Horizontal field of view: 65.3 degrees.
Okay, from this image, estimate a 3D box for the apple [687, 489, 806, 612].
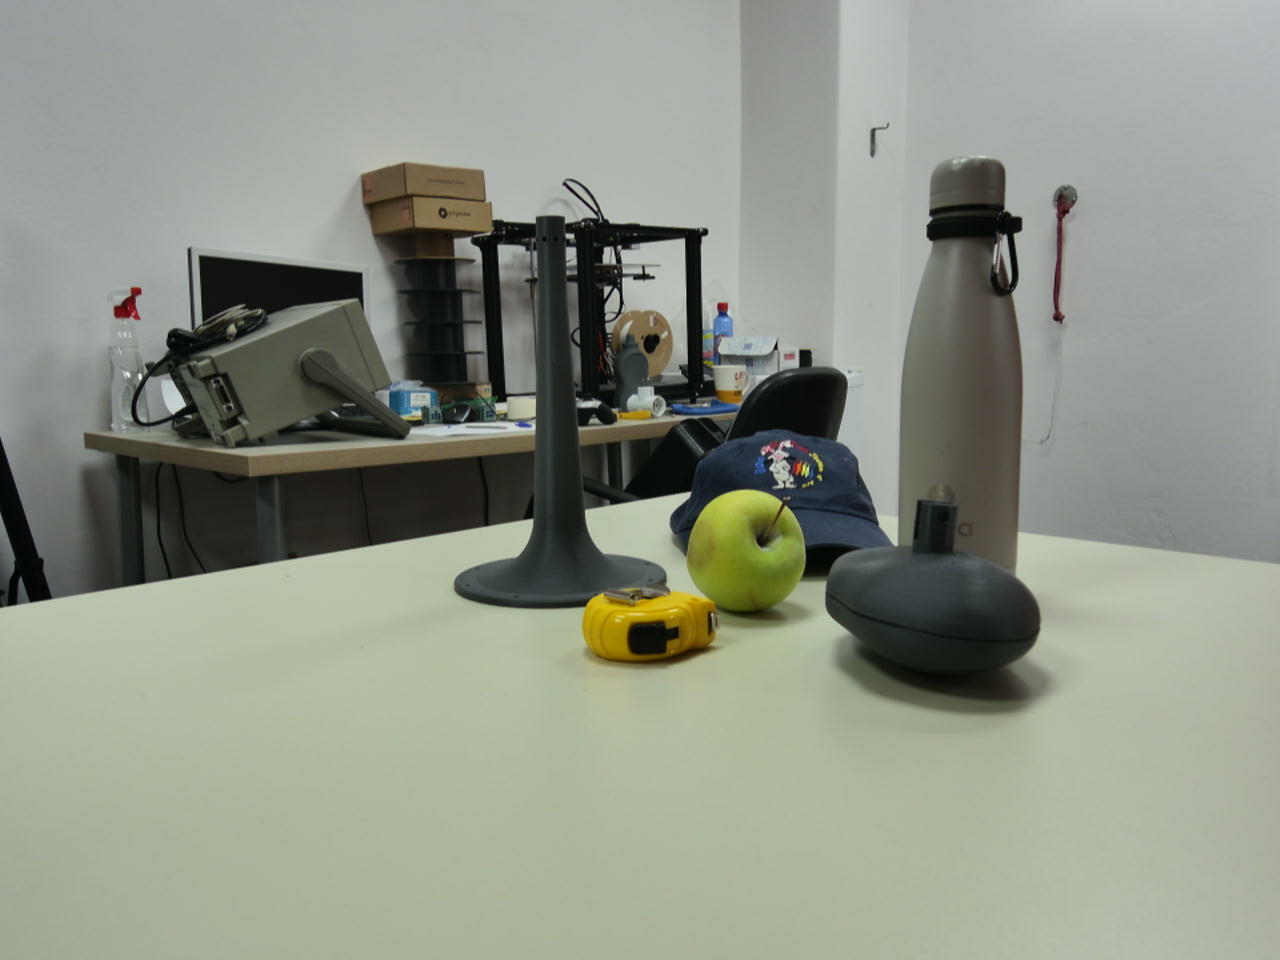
[{"bbox_3d":[0.067,0.044,0.626,0.072,0.075,0.077,0,6,1],"label":"apple"}]
